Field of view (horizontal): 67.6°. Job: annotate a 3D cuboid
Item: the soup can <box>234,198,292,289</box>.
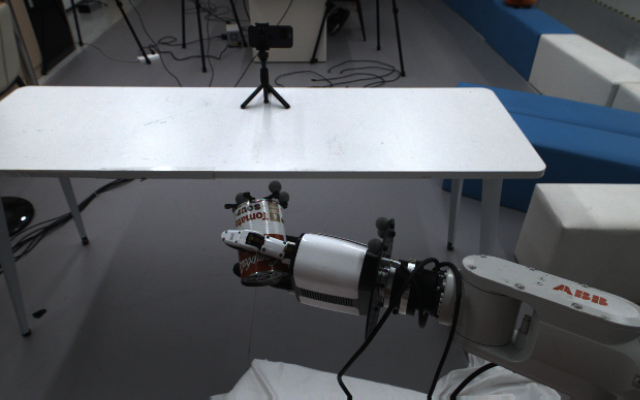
[{"bbox_3d":[-0.076,0.059,0.648,0.067,0.067,0.101,-6,67,-12],"label":"soup can"}]
